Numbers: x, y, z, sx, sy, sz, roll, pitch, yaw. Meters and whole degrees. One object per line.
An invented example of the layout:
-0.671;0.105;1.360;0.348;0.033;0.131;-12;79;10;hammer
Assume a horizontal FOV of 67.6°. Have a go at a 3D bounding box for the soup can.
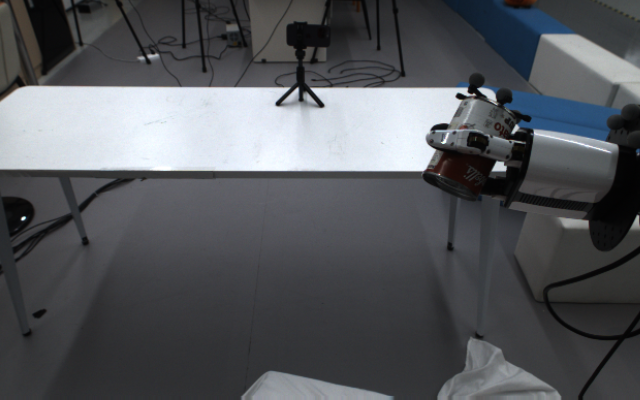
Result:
0.173;-0.059;0.554;0.067;0.101;0.067;28;-3;1;soup can
